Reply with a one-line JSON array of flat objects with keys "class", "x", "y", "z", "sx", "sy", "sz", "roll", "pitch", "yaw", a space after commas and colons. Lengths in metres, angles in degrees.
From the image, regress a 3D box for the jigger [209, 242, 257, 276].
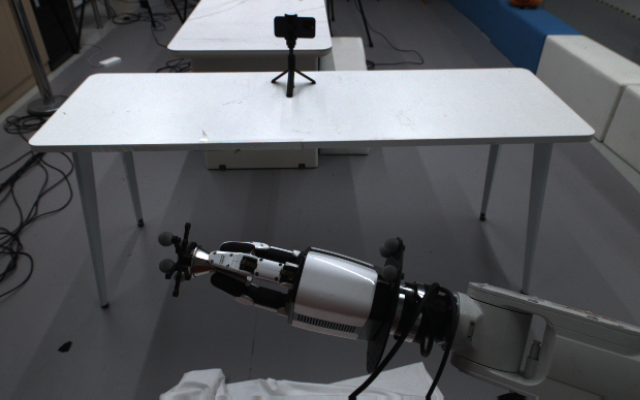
[{"class": "jigger", "x": -0.108, "y": 0.074, "z": 0.583, "sx": 0.071, "sy": 0.043, "sz": 0.043, "roll": 6, "pitch": 35, "yaw": 2}]
